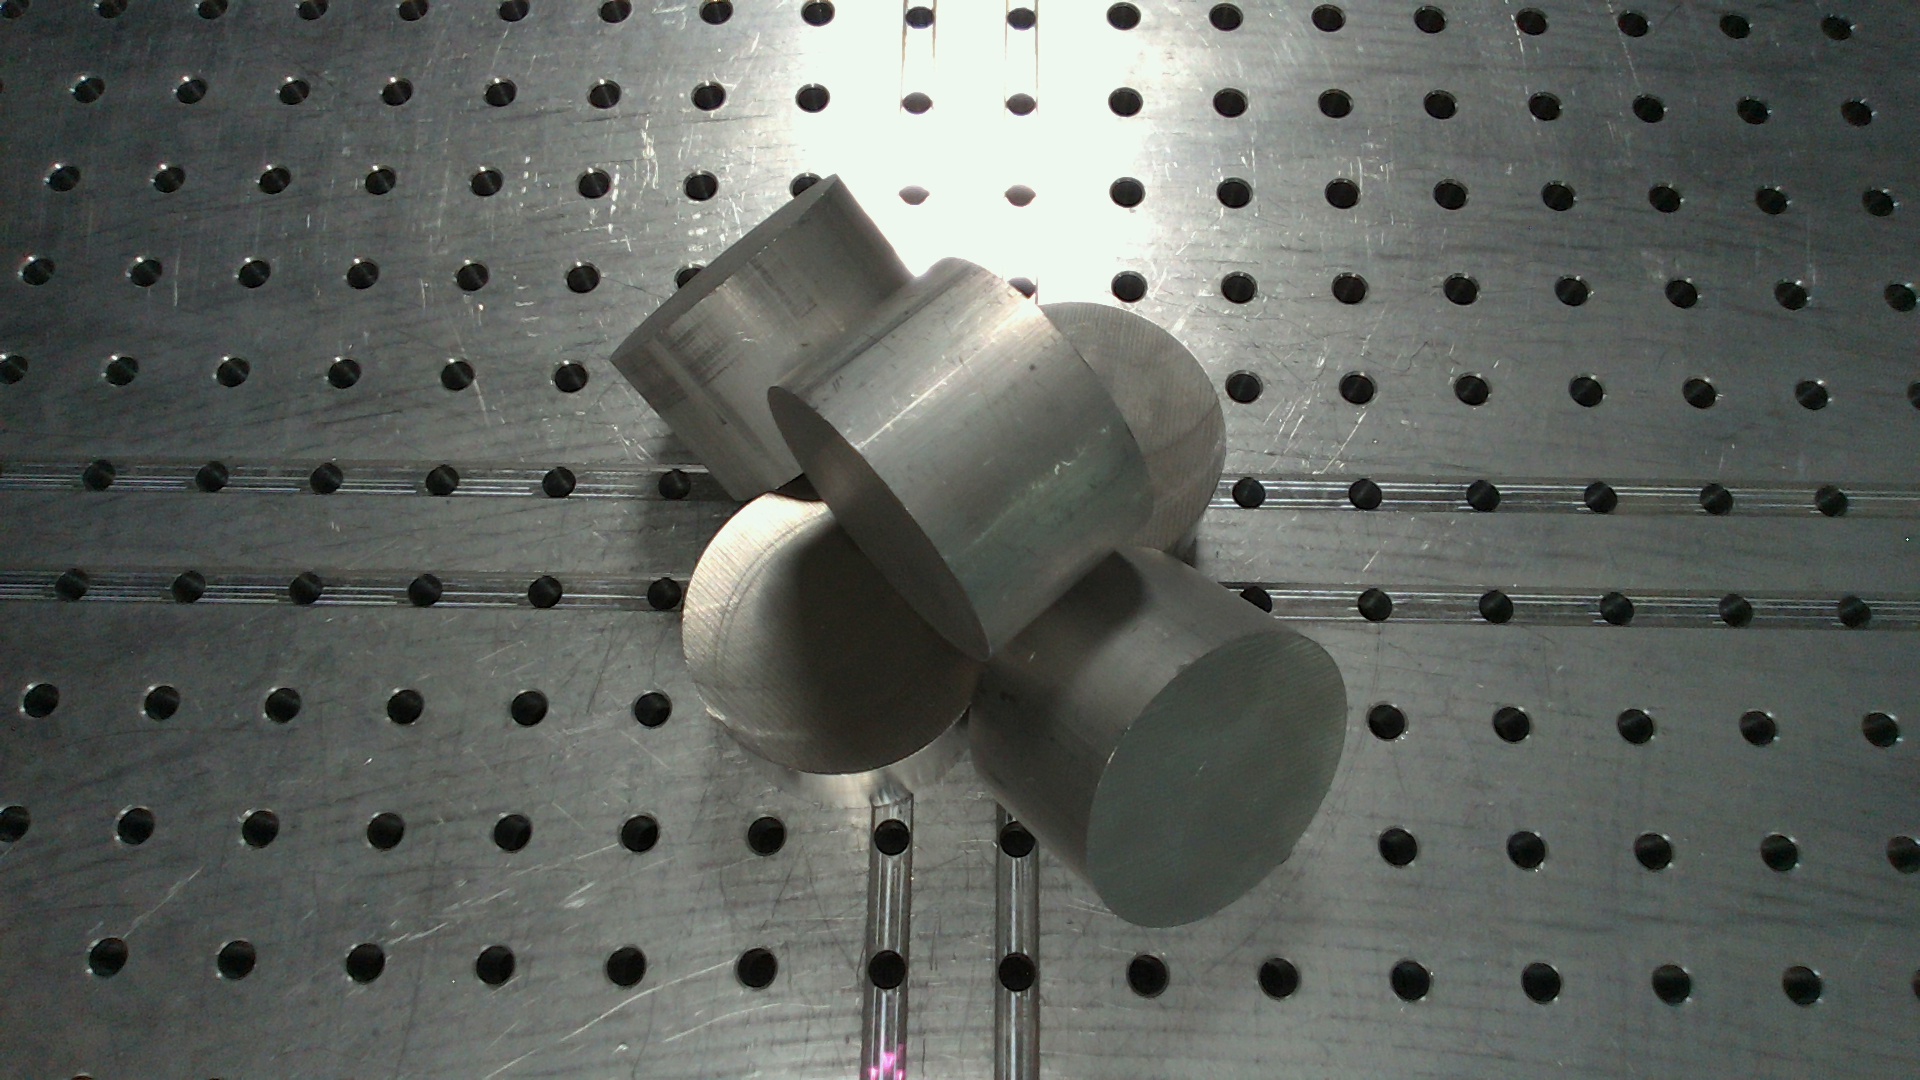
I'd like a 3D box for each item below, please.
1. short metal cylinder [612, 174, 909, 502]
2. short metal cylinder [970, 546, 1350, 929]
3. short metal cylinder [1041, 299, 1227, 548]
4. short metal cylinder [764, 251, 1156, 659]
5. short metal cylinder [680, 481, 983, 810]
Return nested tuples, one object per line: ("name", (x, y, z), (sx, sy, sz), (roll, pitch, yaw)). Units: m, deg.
("short metal cylinder", (-0.049, -0.056, 0.381), (0.080, 0.080, 0.050), (-45, 110, -14))
("short metal cylinder", (0.050, 0.048, 0.343), (0.080, 0.080, 0.050), (-39, 39, -13))
("short metal cylinder", (0.031, -0.021, 0.391), (0.080, 0.050, 0.080), (0, 70, 0))
("short metal cylinder", (-0.001, -0.019, 0.320), (0.050, 0.080, 0.080), (-40, 75, -13))
("short metal cylinder", (-0.031, 0.029, 0.372), (0.080, 0.050, 0.080), (0, 70, 0))
